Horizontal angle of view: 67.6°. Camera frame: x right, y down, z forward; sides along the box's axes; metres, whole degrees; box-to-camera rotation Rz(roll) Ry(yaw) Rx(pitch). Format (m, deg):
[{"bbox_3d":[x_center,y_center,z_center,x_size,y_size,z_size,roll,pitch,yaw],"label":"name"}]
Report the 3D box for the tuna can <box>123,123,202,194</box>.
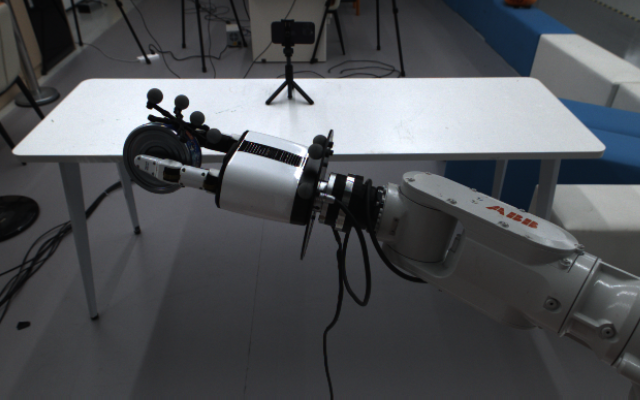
[{"bbox_3d":[-0.186,-0.051,0.575,0.085,0.085,0.034,6,19,6],"label":"tuna can"}]
